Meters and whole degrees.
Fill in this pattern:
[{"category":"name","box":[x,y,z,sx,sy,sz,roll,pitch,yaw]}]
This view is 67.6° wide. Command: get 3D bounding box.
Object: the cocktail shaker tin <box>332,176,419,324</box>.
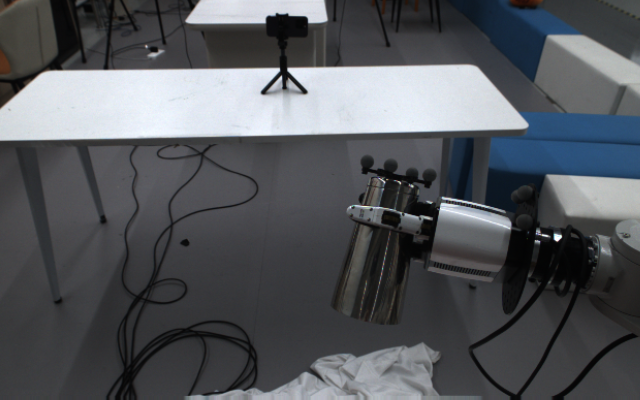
[{"category":"cocktail shaker tin","box":[0.080,0.058,0.617,0.093,0.170,0.093,13,1,0]}]
